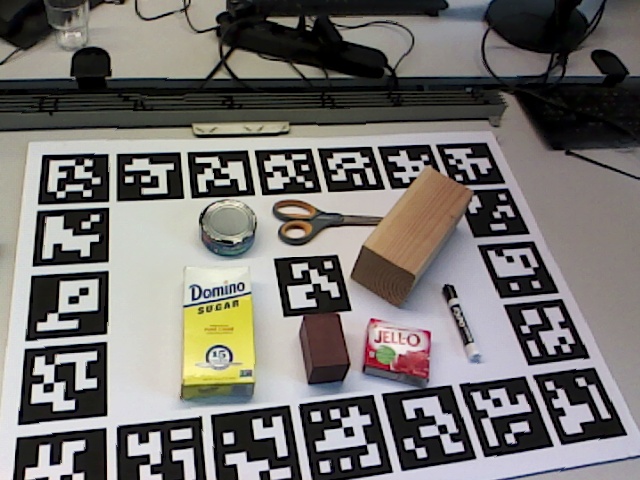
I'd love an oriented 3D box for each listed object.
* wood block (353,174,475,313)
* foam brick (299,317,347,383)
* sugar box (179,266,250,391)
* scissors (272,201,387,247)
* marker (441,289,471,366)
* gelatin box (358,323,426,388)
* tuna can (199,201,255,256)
[{"bbox_3d":[0.150,0.003,0.973,0.090,0.091,0.206,33,55,15],"label":"wood block"},{"bbox_3d":[0.003,0.152,0.854,0.052,0.051,0.078,-1,55,-10],"label":"foam brick"},{"bbox_3d":[-0.144,0.121,0.862,0.092,0.045,0.177,2,54,-10],"label":"sugar box"},{"bbox_3d":[0.022,-0.024,1.013,0.202,0.016,0.088,3,54,-5],"label":"scissors"},{"bbox_3d":[0.203,0.129,0.928,0.019,0.019,0.121,-1,57,-11],"label":"marker"},{"bbox_3d":[0.103,0.164,0.881,0.089,0.030,0.073,13,54,0],"label":"gelatin box"},{"bbox_3d":[-0.145,-0.017,0.965,0.085,0.033,0.086,4,54,-7],"label":"tuna can"}]
